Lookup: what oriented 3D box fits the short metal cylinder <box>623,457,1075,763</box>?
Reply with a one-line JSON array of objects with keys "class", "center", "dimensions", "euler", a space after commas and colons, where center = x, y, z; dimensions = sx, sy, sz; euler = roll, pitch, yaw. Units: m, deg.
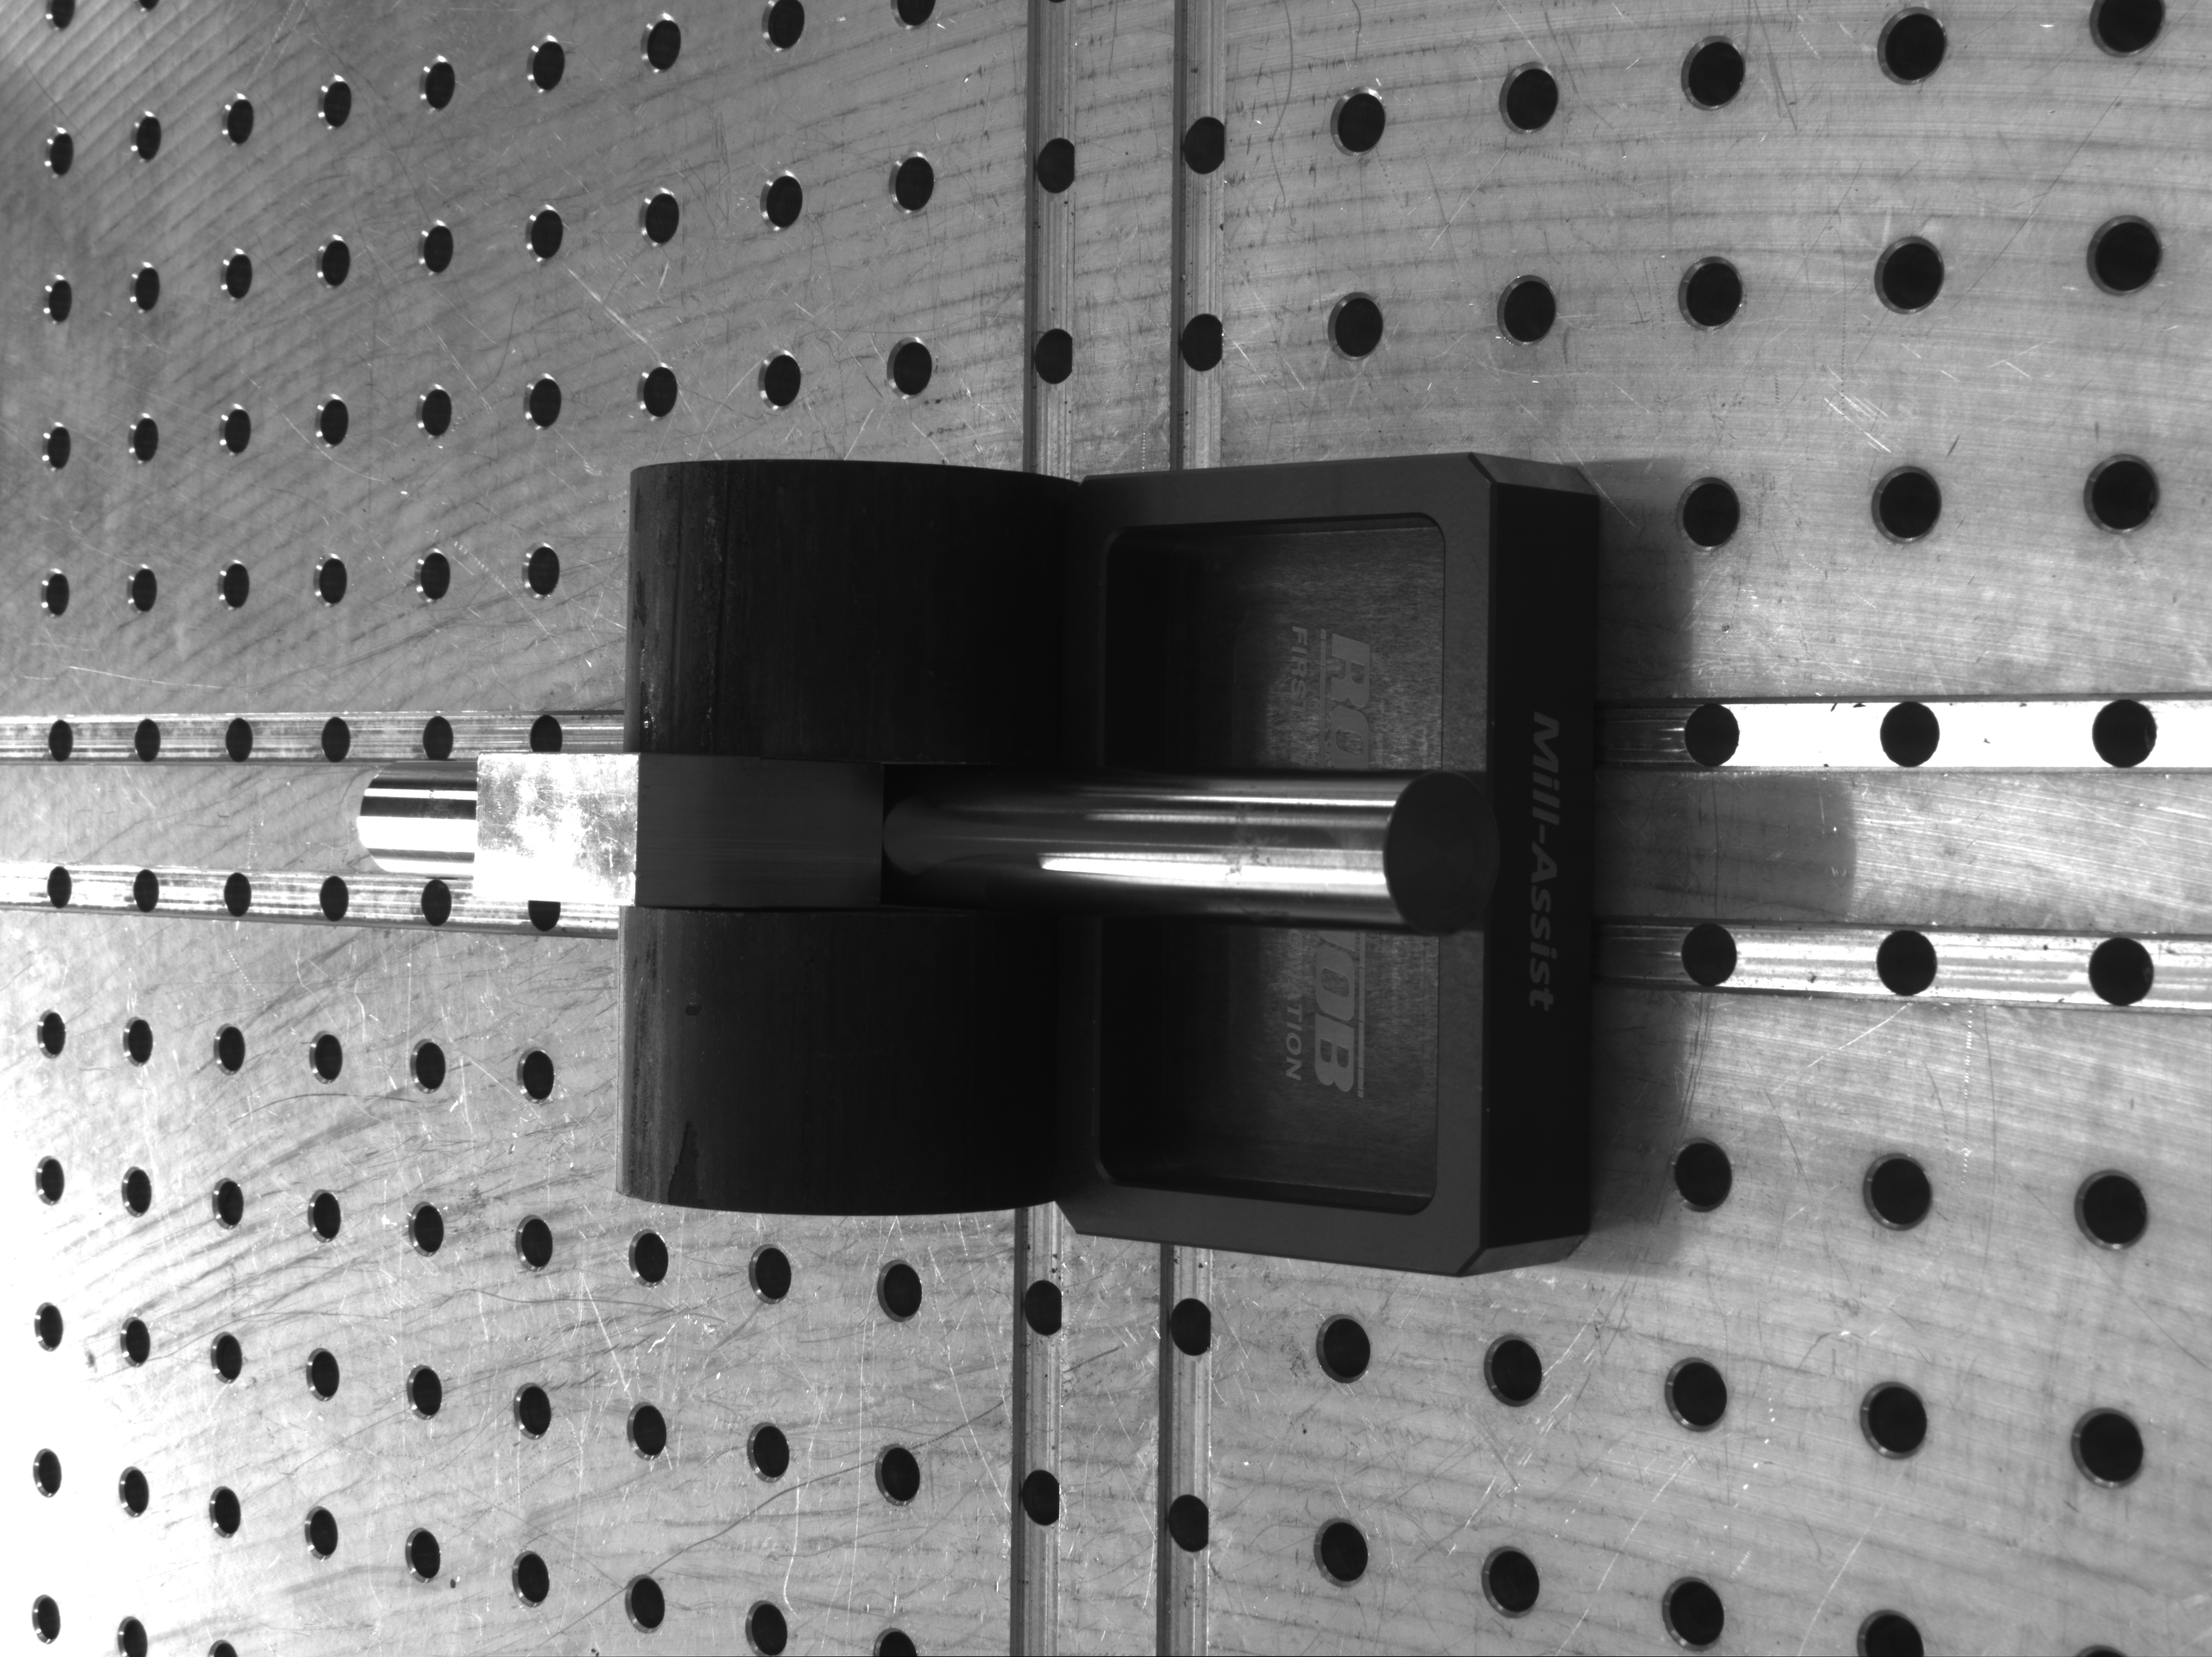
[{"class": "short metal cylinder", "center": [-0.045, -0.037, 0.649], "dimensions": [0.080, 0.080, 0.050], "euler": [1, 90, 40]}]

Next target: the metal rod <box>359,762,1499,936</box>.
[{"class": "metal rod", "center": [-0.048, 0.001, 0.659], "dimensions": [0.299, 0.025, 0.025], "euler": [2, 91, 49]}]

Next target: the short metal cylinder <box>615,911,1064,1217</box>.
[{"class": "short metal cylinder", "center": [-0.046, 0.039, 0.651], "dimensions": [0.080, 0.080, 0.050], "euler": [2, 91, 40]}]

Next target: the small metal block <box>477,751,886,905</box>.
[{"class": "small metal block", "center": [-0.073, 0.000, 0.632], "dimensions": [0.050, 0.050, 0.025], "euler": [1, 91, 48]}]

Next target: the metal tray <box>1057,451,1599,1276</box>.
[{"class": "metal tray", "center": [0.036, 0.005, 0.615], "dimensions": [0.090, 0.030, 0.130], "euler": [1, 91, 40]}]
